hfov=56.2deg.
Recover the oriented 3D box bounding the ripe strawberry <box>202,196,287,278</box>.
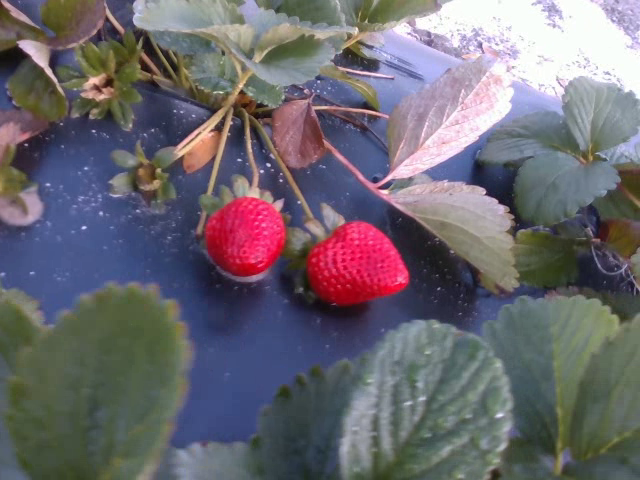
[{"bbox_3d":[-0.039,0.001,0.316,0.048,0.041,0.056,6,33,-15],"label":"ripe strawberry"}]

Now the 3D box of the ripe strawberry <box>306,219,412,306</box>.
[{"bbox_3d":[0.022,0.011,0.322,0.057,0.051,0.064,-27,37,-32],"label":"ripe strawberry"}]
